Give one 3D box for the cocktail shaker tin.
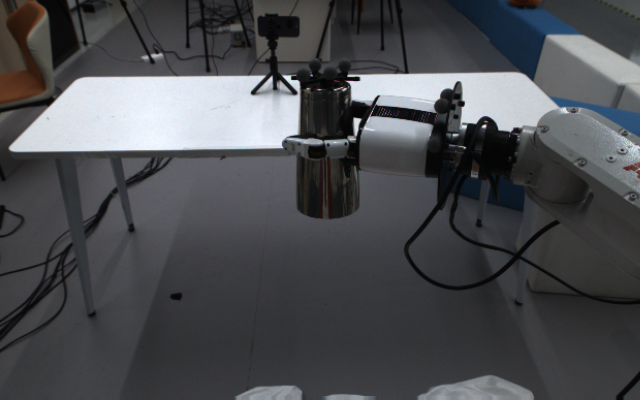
[{"bbox_3d":[0.011,-0.072,0.656,0.093,0.170,0.093,-1,26,1],"label":"cocktail shaker tin"}]
